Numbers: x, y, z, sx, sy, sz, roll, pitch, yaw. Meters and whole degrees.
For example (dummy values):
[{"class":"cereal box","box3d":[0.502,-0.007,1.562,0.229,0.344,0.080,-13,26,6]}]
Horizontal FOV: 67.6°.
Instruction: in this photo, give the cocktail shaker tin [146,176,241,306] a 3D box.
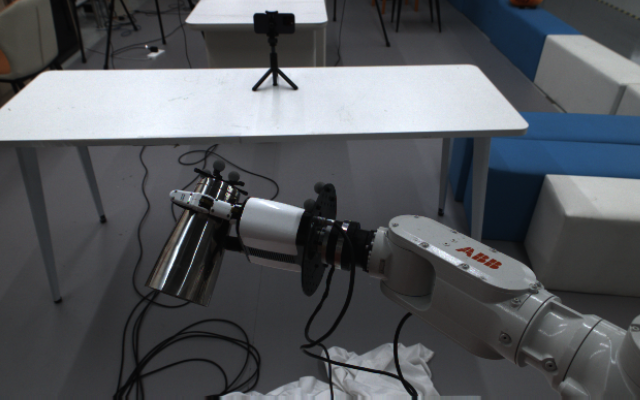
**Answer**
[{"class":"cocktail shaker tin","box3d":[-0.174,0.056,0.698,0.093,0.093,0.170,13,71,16]}]
